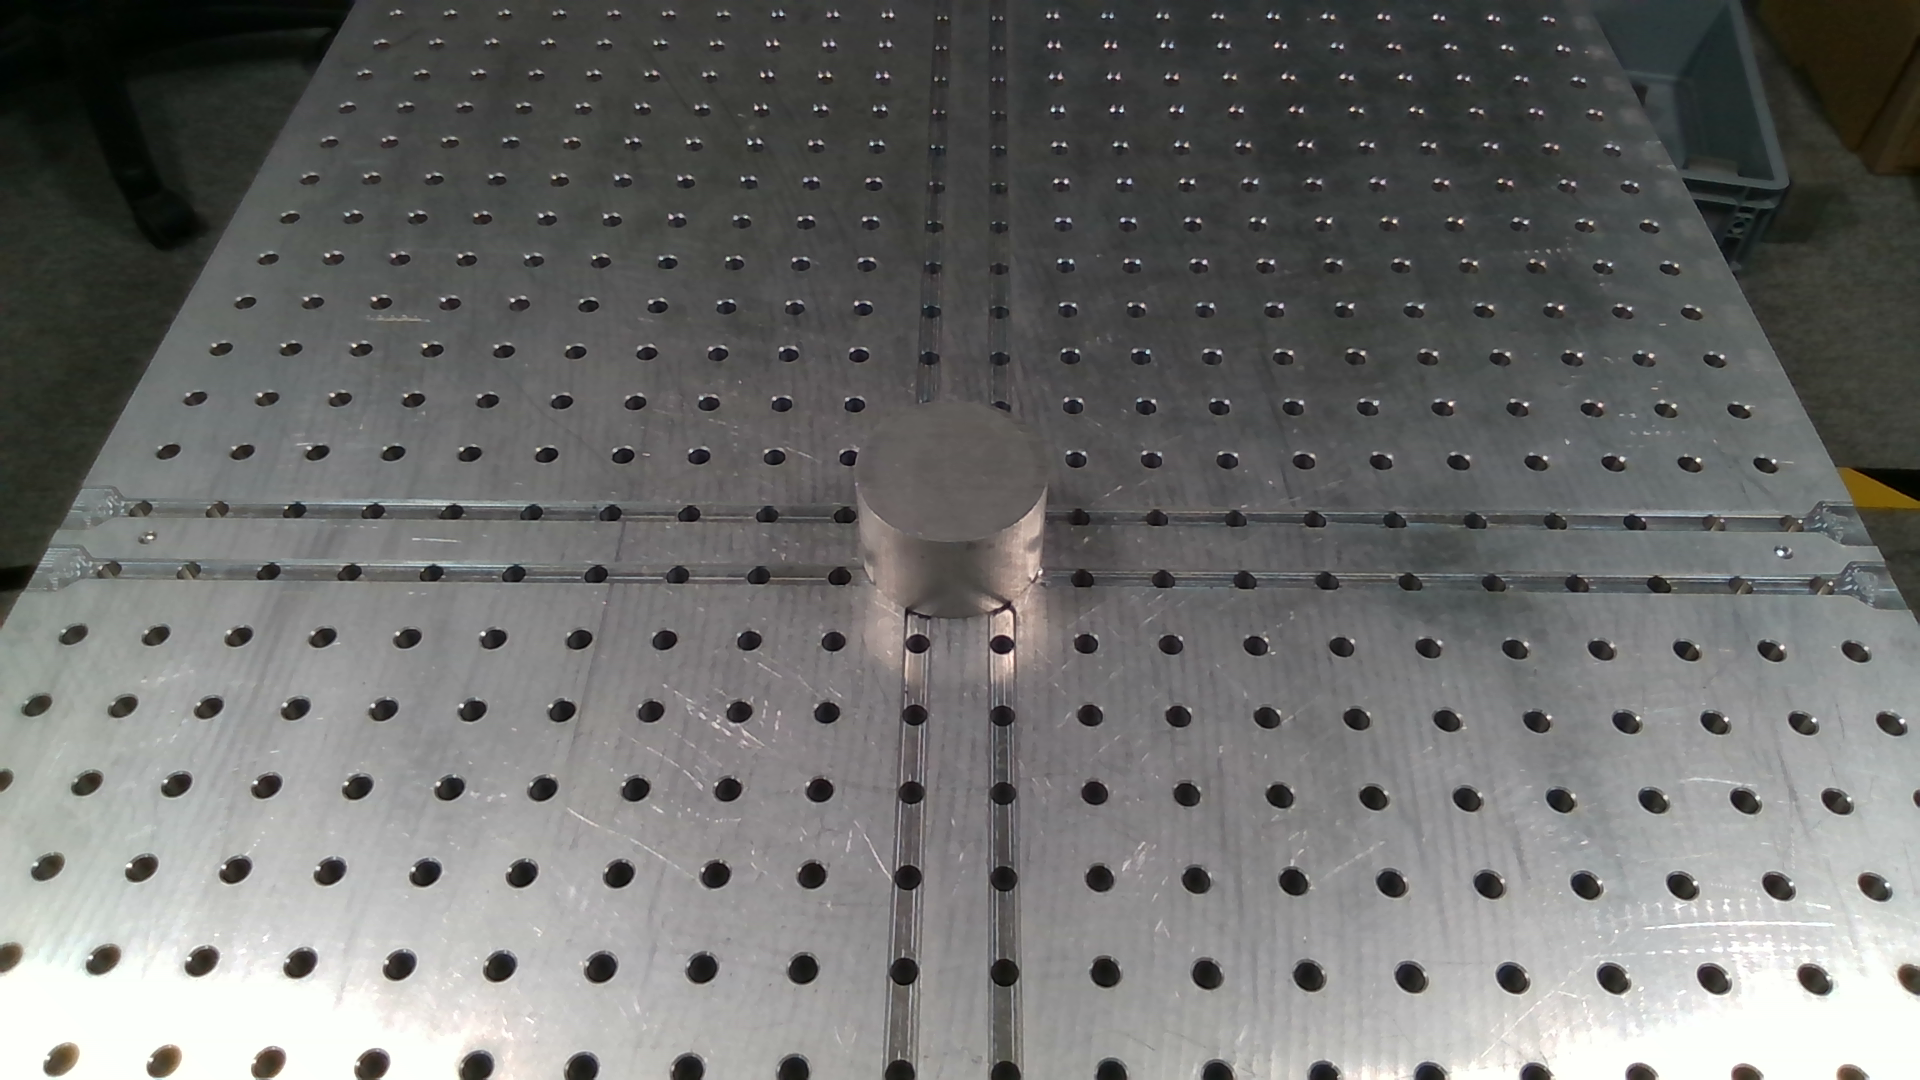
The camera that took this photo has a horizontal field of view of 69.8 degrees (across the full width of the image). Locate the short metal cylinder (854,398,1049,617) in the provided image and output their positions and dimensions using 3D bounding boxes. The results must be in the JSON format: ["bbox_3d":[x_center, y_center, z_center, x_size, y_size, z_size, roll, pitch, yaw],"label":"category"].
[{"bbox_3d":[-0.004,-0.014,0.585,0.080,0.050,0.080,0,50,0],"label":"short metal cylinder"}]
